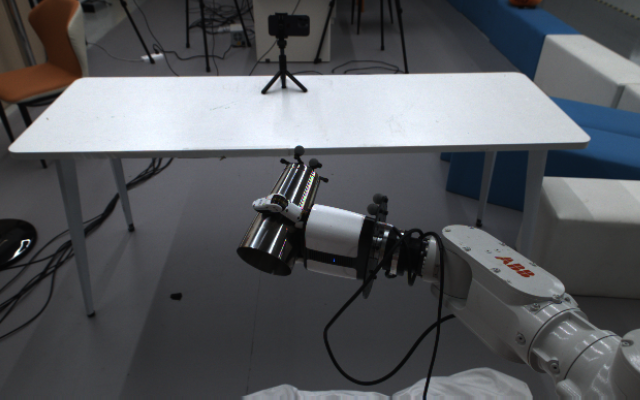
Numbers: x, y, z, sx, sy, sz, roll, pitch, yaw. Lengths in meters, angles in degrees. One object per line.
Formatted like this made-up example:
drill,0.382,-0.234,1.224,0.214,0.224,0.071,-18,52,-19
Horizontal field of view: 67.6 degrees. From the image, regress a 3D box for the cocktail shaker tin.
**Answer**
cocktail shaker tin,-0.061,0.027,0.781,0.093,0.093,0.170,14,62,17
